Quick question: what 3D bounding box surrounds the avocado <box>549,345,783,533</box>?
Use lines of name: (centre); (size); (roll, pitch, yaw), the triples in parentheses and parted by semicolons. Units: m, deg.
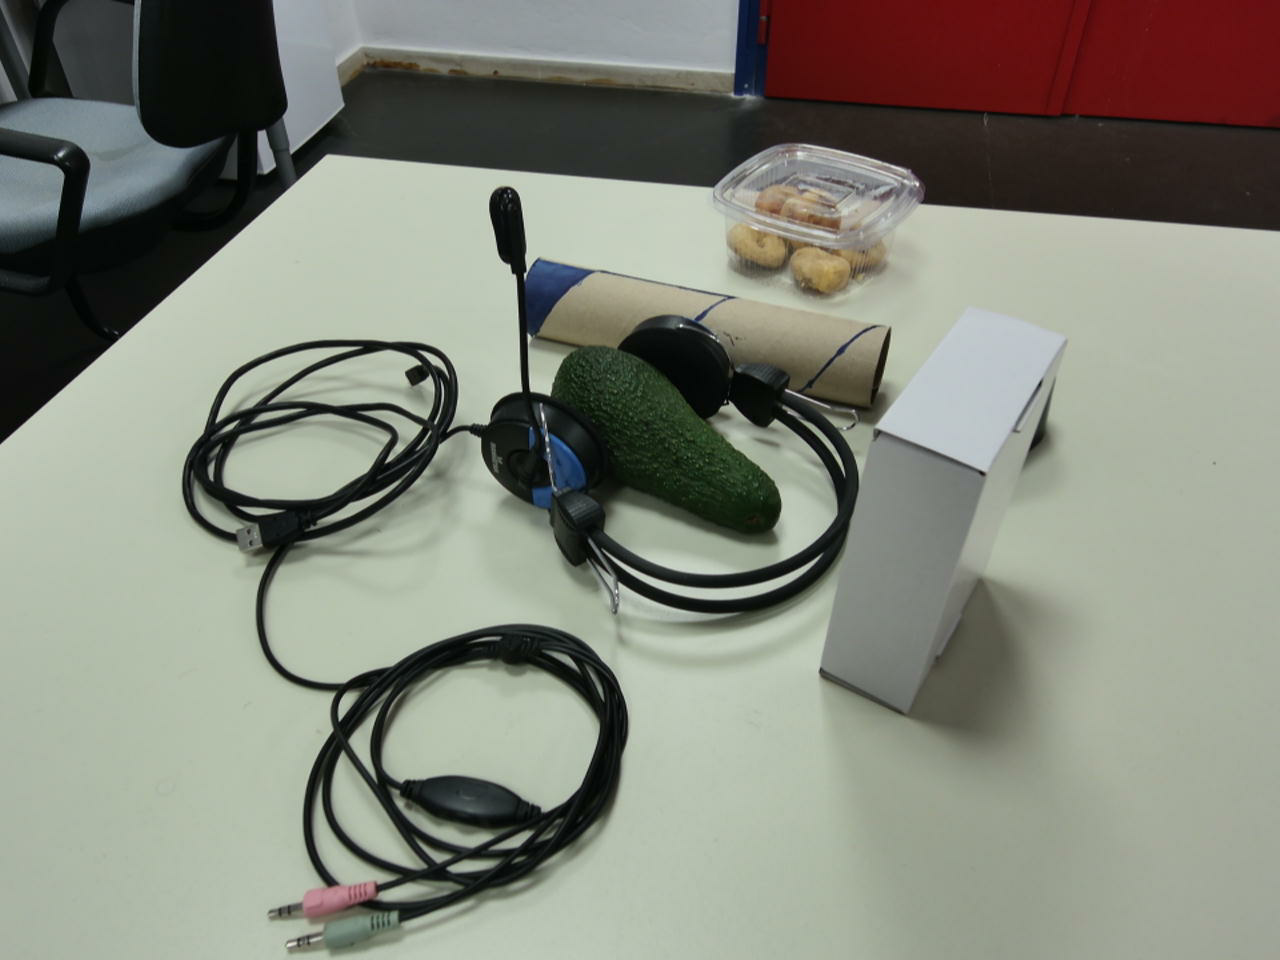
avocado: (0.014, -0.026, 0.512); (0.141, 0.067, 0.063); (18, 42, 22)
